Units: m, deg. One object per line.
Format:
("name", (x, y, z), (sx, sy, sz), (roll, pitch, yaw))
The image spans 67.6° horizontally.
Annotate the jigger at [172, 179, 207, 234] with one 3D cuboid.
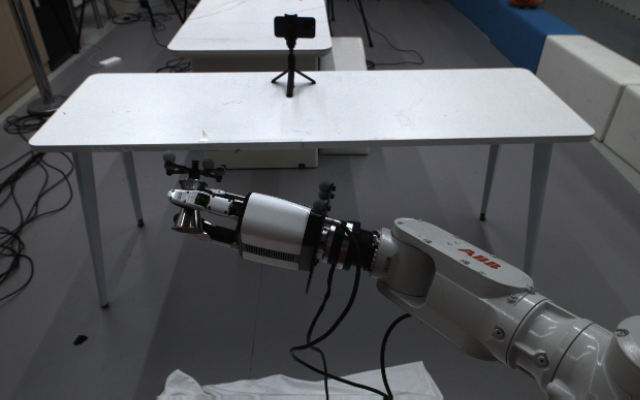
("jigger", (-0.179, 0.009, 0.665), (0.043, 0.043, 0.071), (3, 77, 1))
